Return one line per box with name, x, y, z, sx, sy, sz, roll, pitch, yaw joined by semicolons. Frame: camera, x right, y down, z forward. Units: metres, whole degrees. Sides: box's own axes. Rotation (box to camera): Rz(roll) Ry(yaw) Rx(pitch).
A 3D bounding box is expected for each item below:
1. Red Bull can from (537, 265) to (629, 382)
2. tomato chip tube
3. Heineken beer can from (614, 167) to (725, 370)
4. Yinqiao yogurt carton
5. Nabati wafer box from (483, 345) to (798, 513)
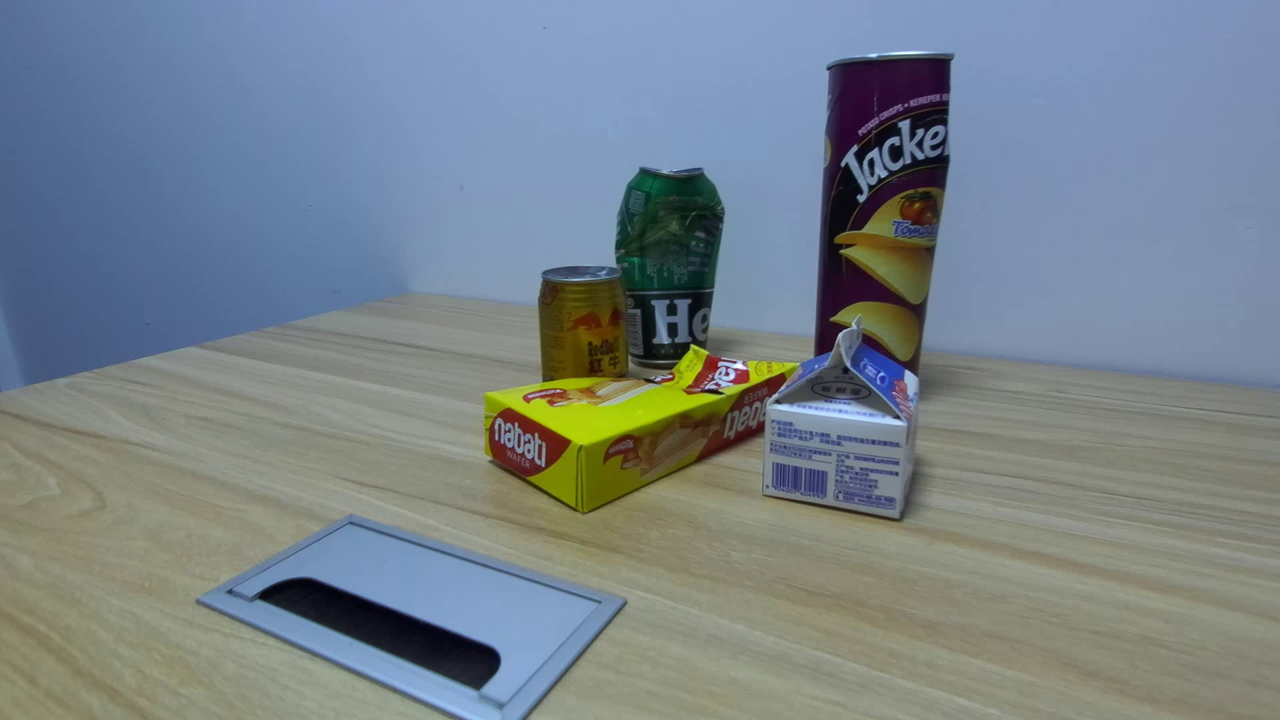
Red Bull can;-0.042;-0.019;0.532;0.067;0.093;0.067;-1;15;0
tomato chip tube;0.167;-0.086;0.499;0.076;0.235;0.078;2;16;10
Heineken beer can;0.022;-0.077;0.592;0.077;0.164;0.066;14;24;31
Yinqiao yogurt carton;0.111;0.024;0.381;0.073;0.092;0.076;6;16;24
Nabati wafer box;0.010;0.029;0.456;0.205;0.042;0.106;-15;23;-41
